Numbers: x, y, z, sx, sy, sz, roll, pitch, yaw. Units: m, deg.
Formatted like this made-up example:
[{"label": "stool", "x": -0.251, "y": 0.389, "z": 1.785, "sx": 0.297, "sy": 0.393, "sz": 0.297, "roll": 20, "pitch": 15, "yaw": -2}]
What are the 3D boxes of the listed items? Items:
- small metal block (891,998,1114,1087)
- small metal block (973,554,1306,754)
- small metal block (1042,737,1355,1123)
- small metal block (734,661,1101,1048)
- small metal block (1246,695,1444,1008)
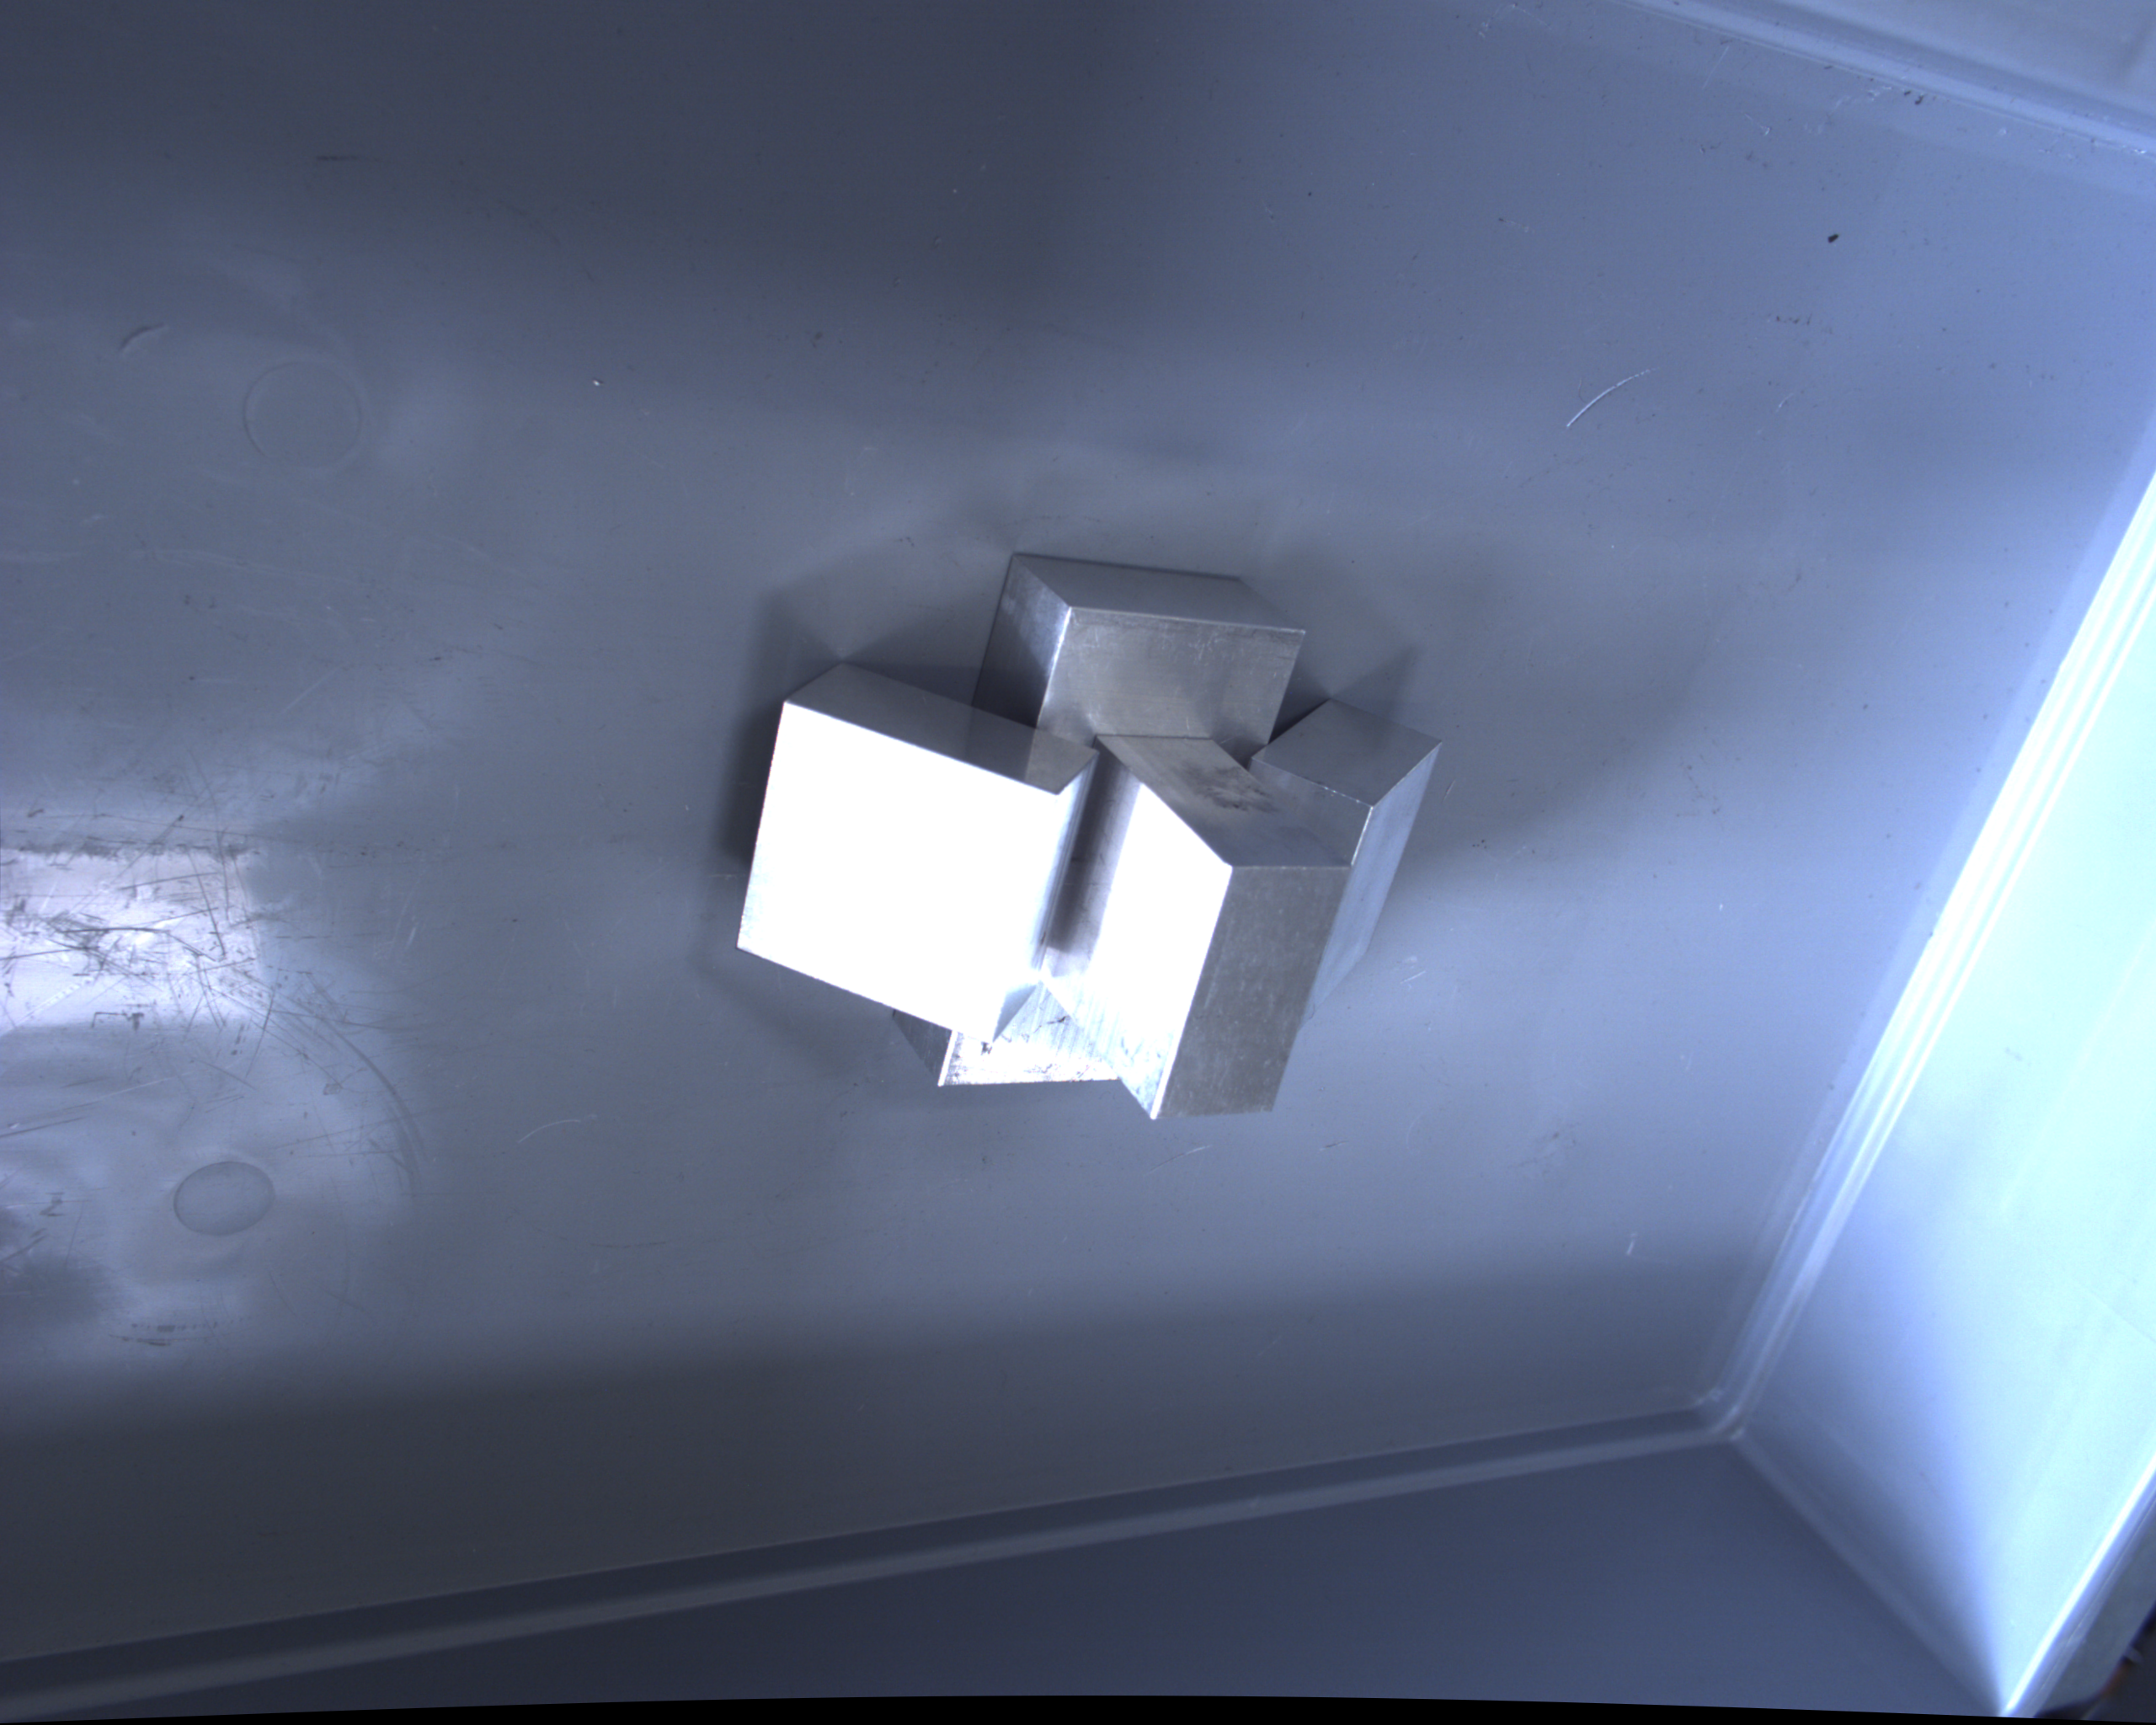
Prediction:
[{"label": "small metal block", "x": -0.004, "y": 0.016, "z": 0.414, "sx": 0.050, "sy": 0.025, "sz": 0.050, "roll": 3, "pitch": 117, "yaw": -29}, {"label": "small metal block", "x": 0.009, "y": -0.028, "z": 0.393, "sx": 0.050, "sy": 0.025, "sz": 0.050, "roll": 2, "pitch": 118, "yaw": -30}, {"label": "small metal block", "x": 0.019, "y": 0.011, "z": 0.374, "sx": 0.025, "sy": 0.050, "sz": 0.050, "roll": 0, "pitch": 118, "yaw": -29}, {"label": "small metal block", "x": -0.029, "y": -0.002, "z": 0.372, "sx": 0.050, "sy": 0.025, "sz": 0.050, "roll": 20, "pitch": 115, "yaw": 10}, {"label": "small metal block", "x": 0.046, "y": -0.001, "z": 0.415, "sx": 0.050, "sy": 0.025, "sz": 0.050, "roll": -35, "pitch": 145, "yaw": -60}]
